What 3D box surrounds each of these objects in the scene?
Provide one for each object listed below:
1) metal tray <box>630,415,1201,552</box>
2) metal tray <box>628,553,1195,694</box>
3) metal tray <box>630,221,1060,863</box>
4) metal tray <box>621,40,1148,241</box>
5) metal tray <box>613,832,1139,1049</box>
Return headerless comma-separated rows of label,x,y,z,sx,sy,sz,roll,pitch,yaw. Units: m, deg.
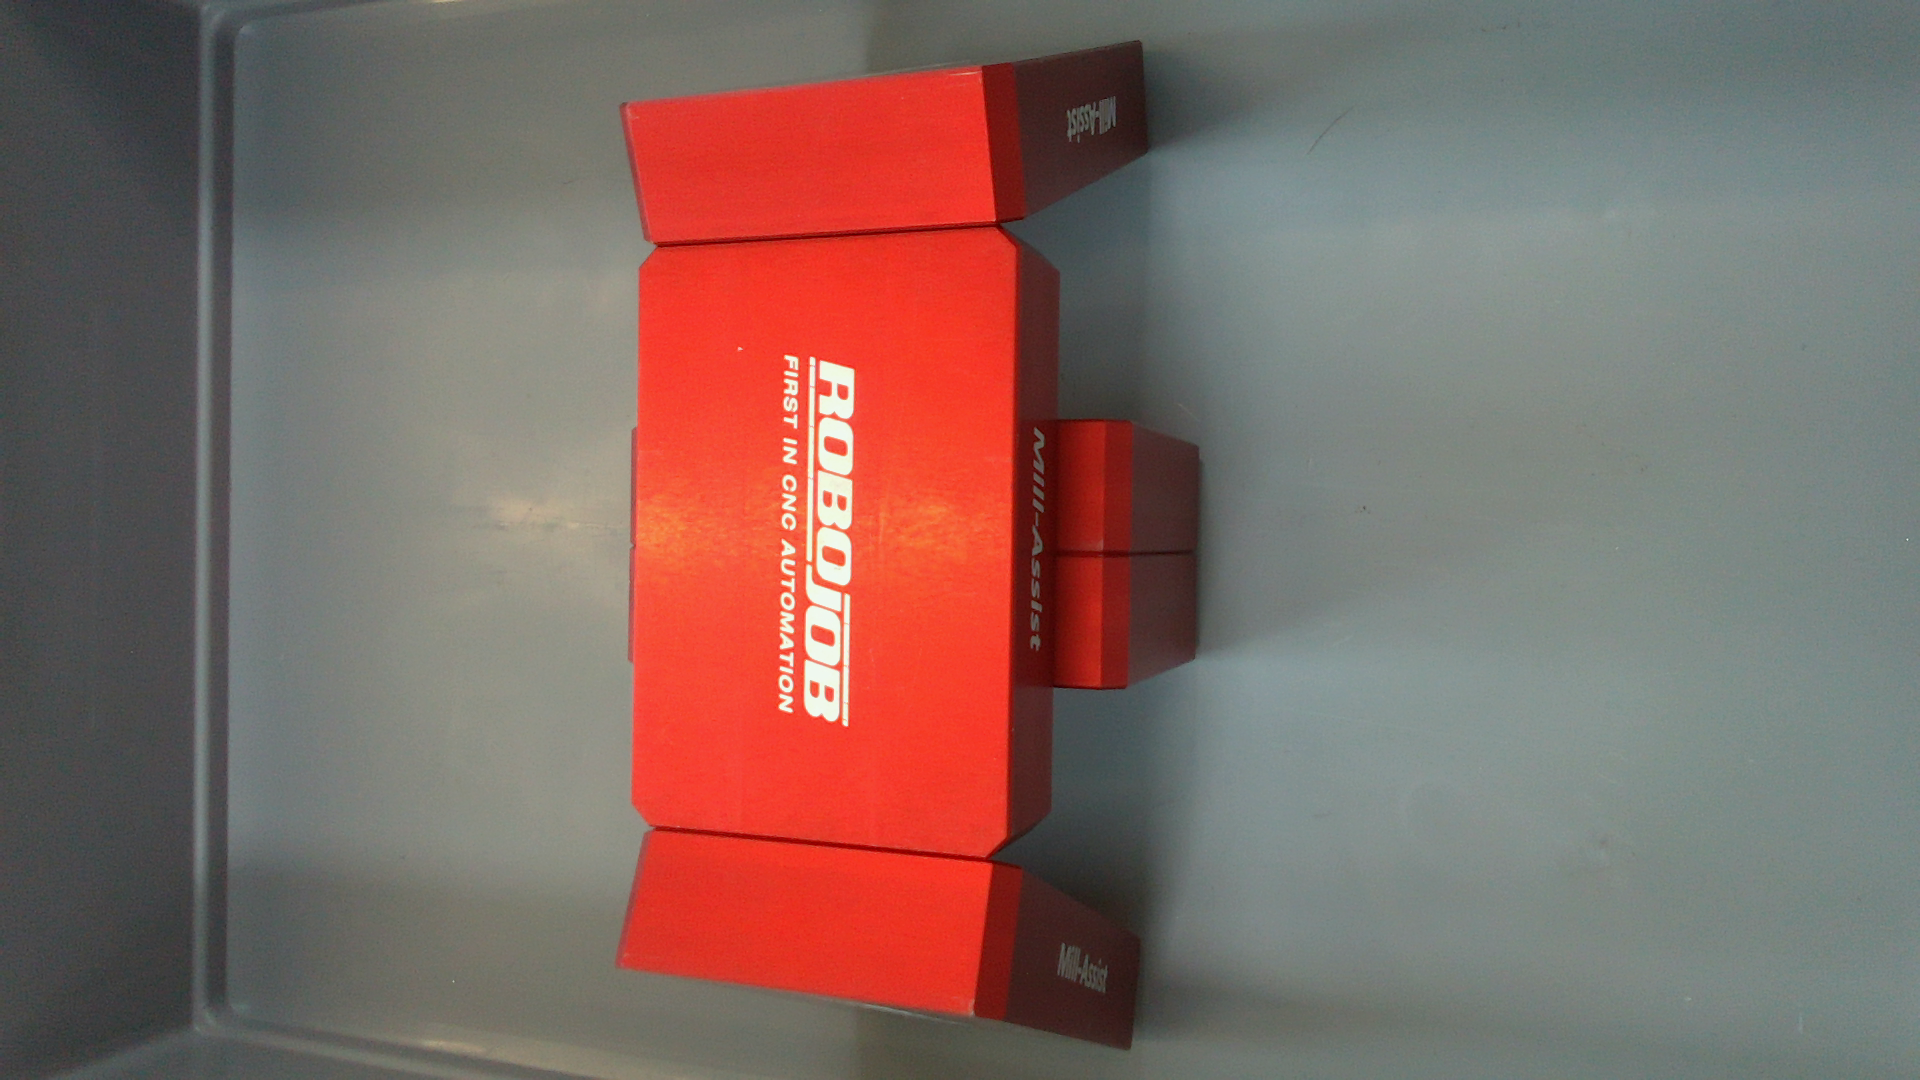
metal tray,-0.009,-0.013,0.364,0.130,0.090,0.030,1,90,20
metal tray,-0.009,0.018,0.364,0.130,0.090,0.030,1,90,20
metal tray,-0.026,0.000,0.305,0.090,0.030,0.130,1,90,19
metal tray,-0.010,-0.102,0.342,0.090,0.130,0.030,1,111,20
metal tray,-0.013,0.103,0.342,0.090,0.130,0.030,0,69,19
